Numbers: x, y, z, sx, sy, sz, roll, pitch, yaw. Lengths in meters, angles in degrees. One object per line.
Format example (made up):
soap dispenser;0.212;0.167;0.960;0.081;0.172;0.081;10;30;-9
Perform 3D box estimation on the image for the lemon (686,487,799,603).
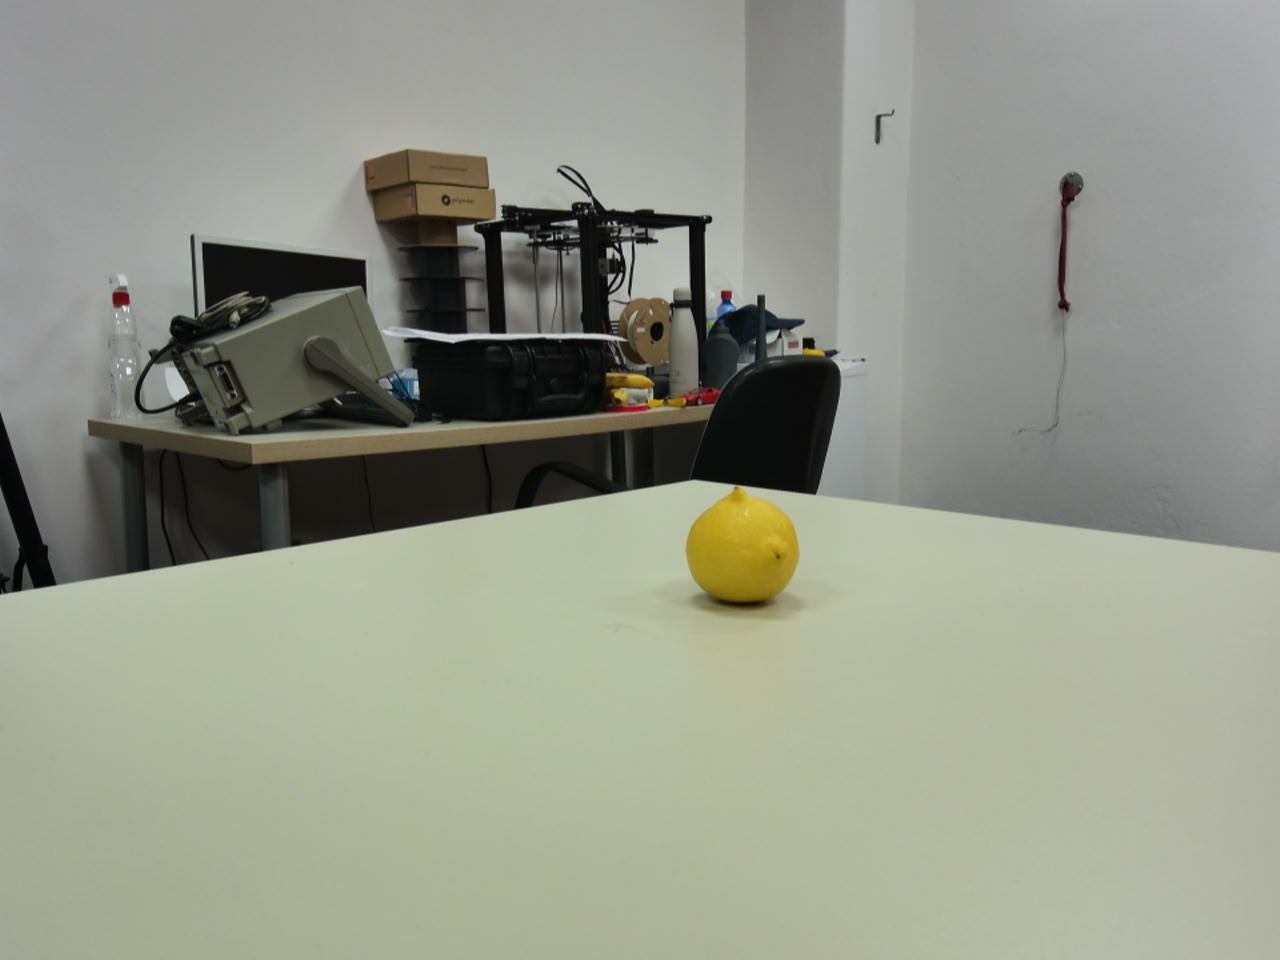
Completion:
lemon;0.063;0.040;0.622;0.070;0.071;0.071;1;7;13
